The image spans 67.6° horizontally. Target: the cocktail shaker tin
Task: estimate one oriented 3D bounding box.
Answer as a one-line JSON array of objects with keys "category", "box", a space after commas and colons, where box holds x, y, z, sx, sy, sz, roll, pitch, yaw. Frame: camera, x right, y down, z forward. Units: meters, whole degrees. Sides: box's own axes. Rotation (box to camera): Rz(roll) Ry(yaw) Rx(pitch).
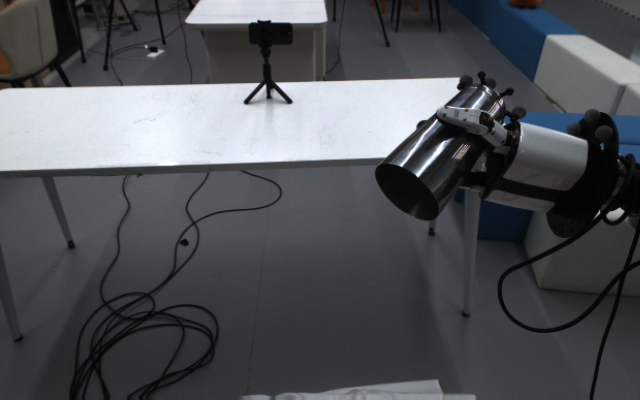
[{"category": "cocktail shaker tin", "box": [0.156, -0.071, 0.597, 0.093, 0.093, 0.170, 32, 66, 35]}]
